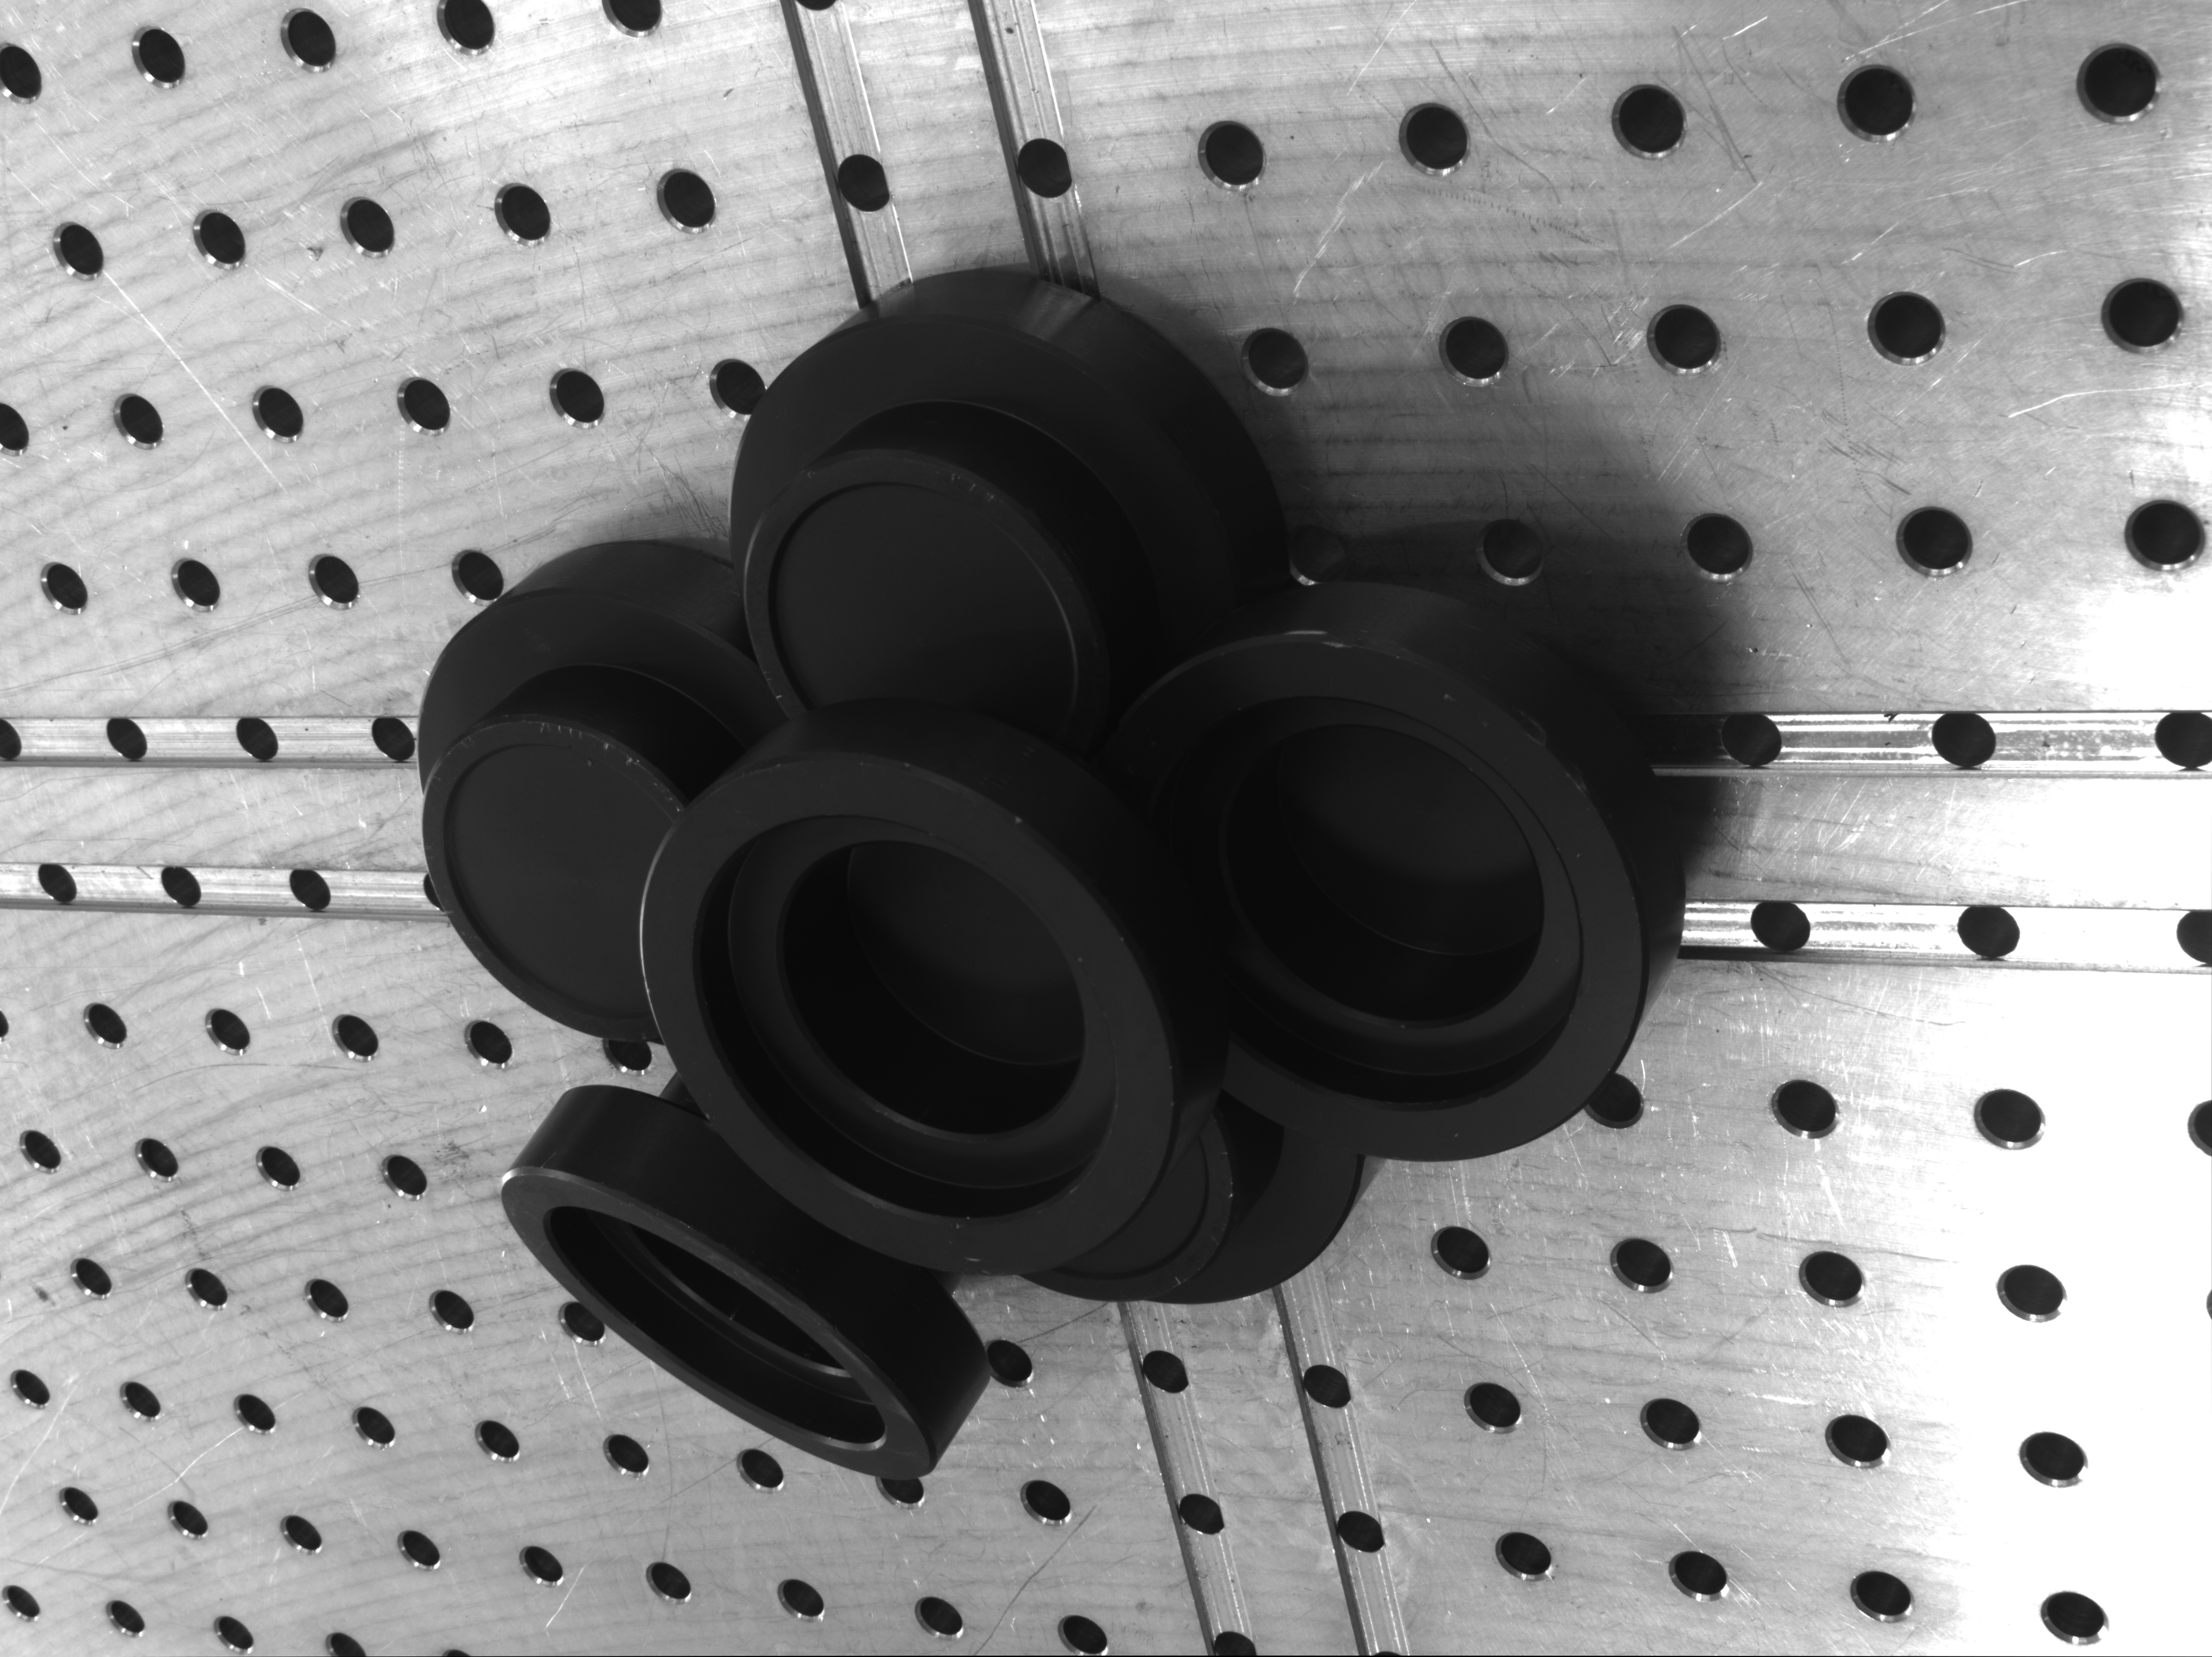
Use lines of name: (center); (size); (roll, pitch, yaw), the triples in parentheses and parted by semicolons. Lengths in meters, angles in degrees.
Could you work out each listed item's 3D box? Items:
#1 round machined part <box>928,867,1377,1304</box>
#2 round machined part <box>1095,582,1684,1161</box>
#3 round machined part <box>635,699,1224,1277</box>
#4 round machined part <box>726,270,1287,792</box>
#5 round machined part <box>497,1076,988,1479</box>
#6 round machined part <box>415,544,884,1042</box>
round machined part: (0.000, 0.046, 0.663); (0.098, 0.042, 0.098); (13, 124, 21)
round machined part: (0.049, 0.003, 0.610); (0.098, 0.042, 0.098); (13, 124, 21)
round machined part: (-0.025, 0.022, 0.607); (0.098, 0.042, 0.098); (13, 124, 21)
round machined part: (-0.022, -0.041, 0.622); (0.098, 0.042, 0.098); (13, 124, 21)
round machined part: (-0.064, 0.079, 0.701); (0.098, 0.042, 0.098); (27, 154, 14)
round machined part: (-0.088, 0.000, 0.682); (0.098, 0.042, 0.098); (13, 124, 21)
